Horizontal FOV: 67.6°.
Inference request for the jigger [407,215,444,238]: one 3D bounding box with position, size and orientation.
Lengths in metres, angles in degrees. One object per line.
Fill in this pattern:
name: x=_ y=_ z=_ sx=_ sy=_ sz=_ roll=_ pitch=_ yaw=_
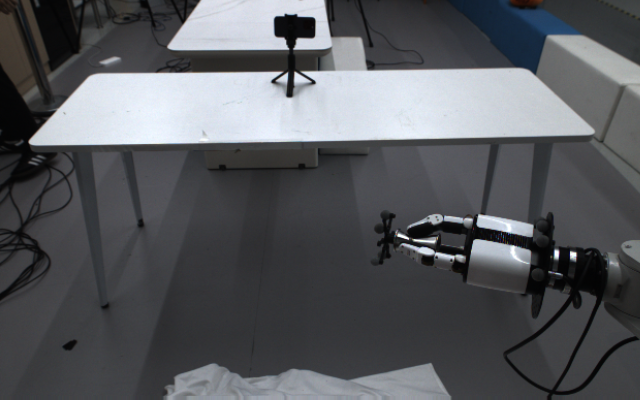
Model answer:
jigger: x=0.162 y=0.066 z=0.777 sx=0.071 sy=0.043 sz=0.043 roll=8 pitch=34 yaw=23
